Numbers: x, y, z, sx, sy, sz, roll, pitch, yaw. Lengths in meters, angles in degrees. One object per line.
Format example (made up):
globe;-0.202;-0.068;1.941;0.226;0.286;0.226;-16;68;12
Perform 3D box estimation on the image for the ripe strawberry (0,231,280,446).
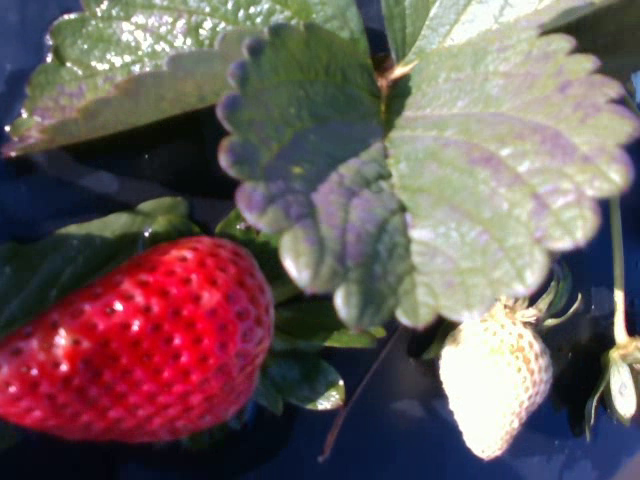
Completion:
ripe strawberry;-0.027;0.015;0.084;0.053;0.044;0.036;-5;34;-47
